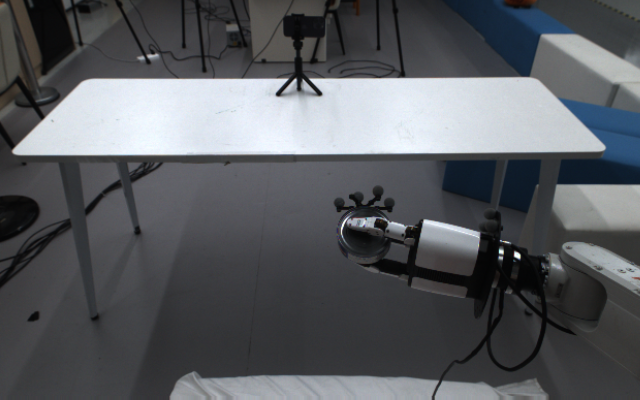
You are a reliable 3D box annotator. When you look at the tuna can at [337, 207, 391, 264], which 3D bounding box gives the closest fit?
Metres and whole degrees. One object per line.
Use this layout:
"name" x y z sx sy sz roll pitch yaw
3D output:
"tuna can" 0.069 0.054 0.744 0.085 0.034 0.085 -1 58 2
